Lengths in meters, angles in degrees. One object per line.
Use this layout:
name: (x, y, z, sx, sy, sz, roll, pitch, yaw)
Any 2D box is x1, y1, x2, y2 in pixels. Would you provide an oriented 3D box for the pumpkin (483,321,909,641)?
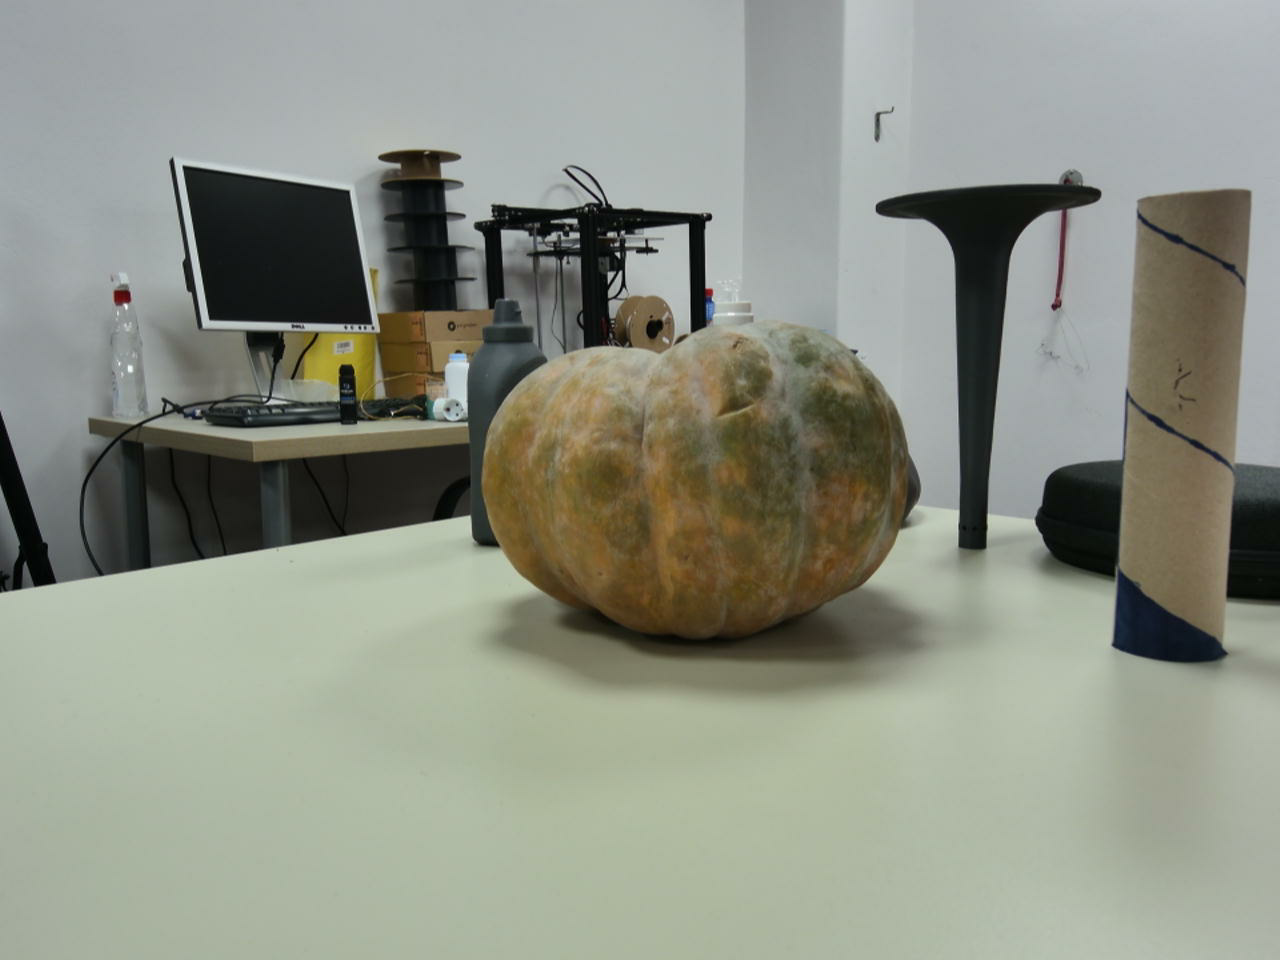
pumpkin: (0.033, -0.004, 0.580, 0.252, 0.168, 0.252, 0, 6, 0)
